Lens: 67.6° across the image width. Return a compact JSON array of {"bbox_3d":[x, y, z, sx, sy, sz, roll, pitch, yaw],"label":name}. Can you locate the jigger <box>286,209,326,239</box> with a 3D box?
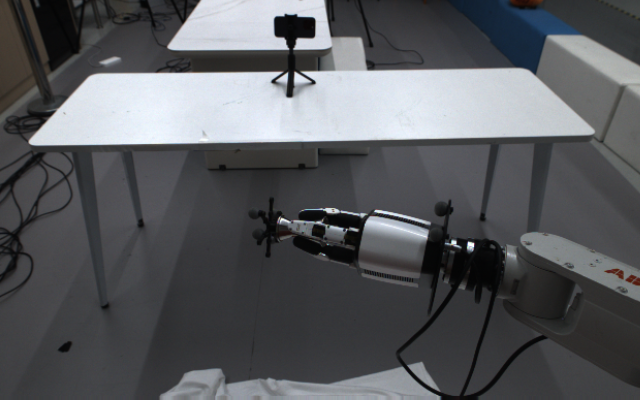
[{"bbox_3d":[-0.017,0.038,0.701,0.071,0.043,0.043,2,34,16],"label":"jigger"}]
